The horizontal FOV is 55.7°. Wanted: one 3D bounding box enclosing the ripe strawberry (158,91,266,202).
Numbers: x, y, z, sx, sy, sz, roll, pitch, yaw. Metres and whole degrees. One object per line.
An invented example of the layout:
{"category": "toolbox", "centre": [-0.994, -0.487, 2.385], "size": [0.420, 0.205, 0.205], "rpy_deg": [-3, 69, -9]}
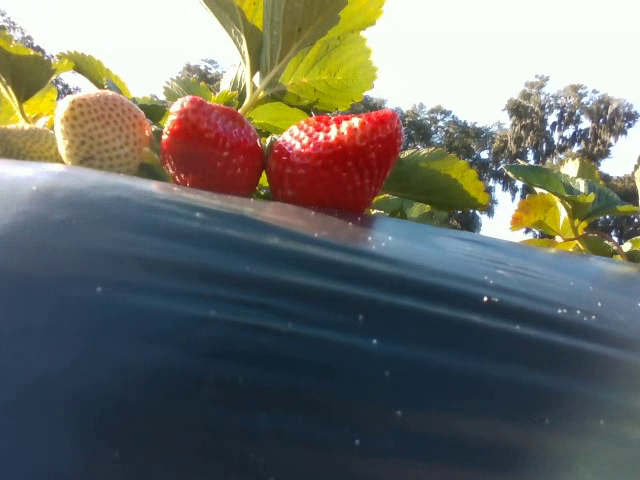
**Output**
{"category": "ripe strawberry", "centre": [-0.043, -0.037, 0.223], "size": [0.050, 0.044, 0.061], "rpy_deg": [27, -12, 13]}

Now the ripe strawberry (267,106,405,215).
{"category": "ripe strawberry", "centre": [0.011, -0.032, 0.228], "size": [0.056, 0.052, 0.067], "rpy_deg": [-24, -5, -46]}
